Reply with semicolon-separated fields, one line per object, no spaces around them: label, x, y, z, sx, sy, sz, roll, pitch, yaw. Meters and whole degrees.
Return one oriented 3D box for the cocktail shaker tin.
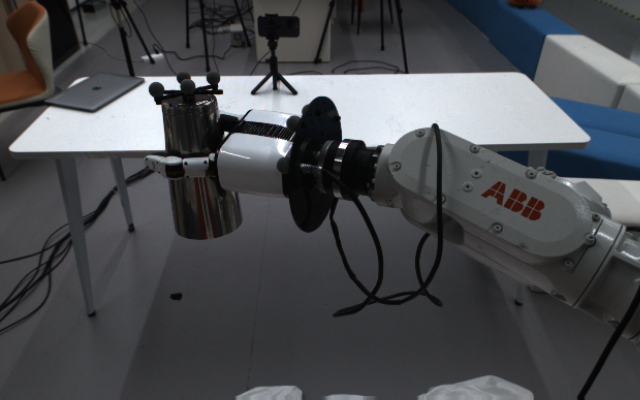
cocktail shaker tin;-0.153;-0.046;0.622;0.093;0.170;0.093;-2;26;1
